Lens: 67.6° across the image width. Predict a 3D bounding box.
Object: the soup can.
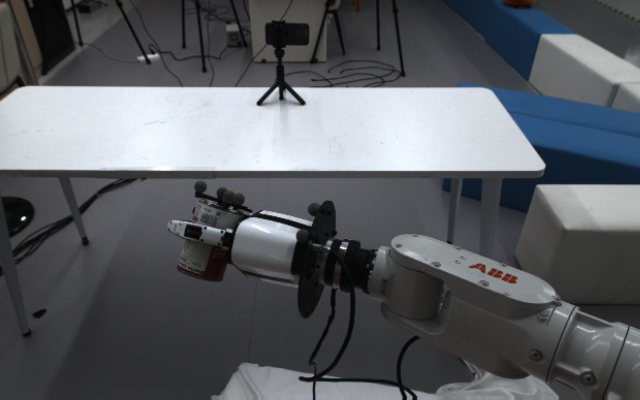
[{"bbox_3d":[-0.152,0.057,0.677,0.067,0.101,0.067,18,-1,0],"label":"soup can"}]
